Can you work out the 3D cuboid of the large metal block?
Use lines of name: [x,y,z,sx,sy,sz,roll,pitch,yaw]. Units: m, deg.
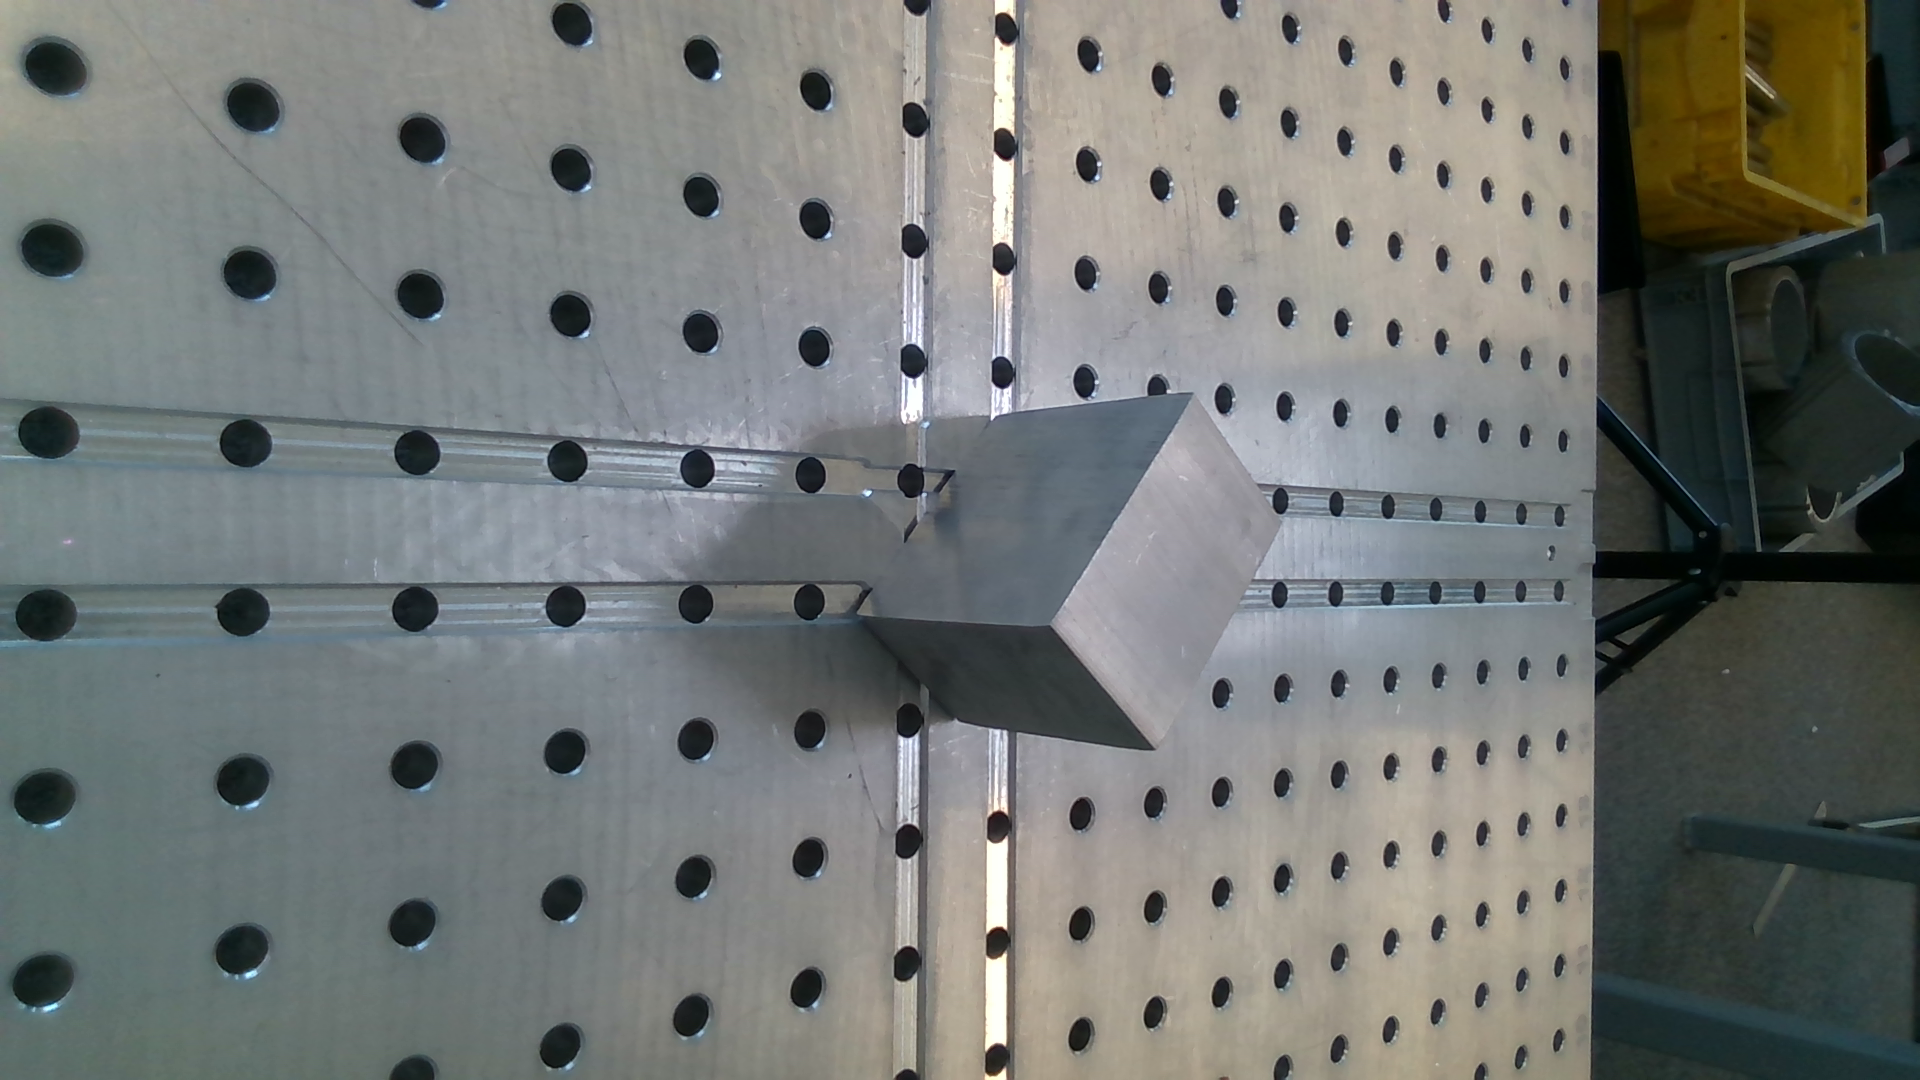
large metal block: [0.030,0.007,0.383,0.050,0.080,0.080,49,61,-29]
